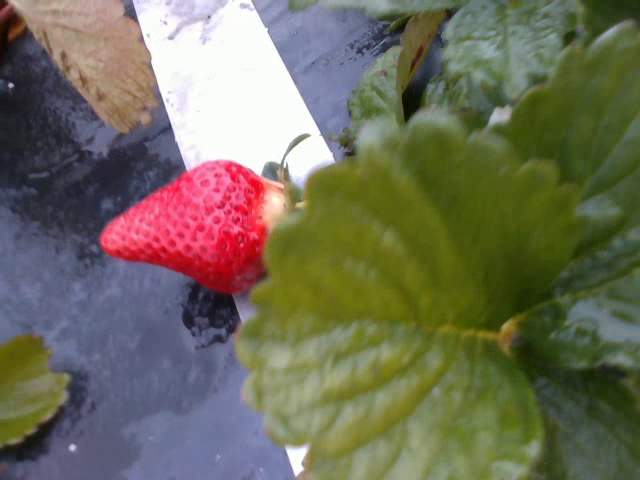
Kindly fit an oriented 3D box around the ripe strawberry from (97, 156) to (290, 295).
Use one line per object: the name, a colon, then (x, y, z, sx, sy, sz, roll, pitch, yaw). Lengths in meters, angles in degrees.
ripe strawberry: (-0.033, -0.004, 0.170, 0.051, 0.042, 0.038, -12, -1, -1)
